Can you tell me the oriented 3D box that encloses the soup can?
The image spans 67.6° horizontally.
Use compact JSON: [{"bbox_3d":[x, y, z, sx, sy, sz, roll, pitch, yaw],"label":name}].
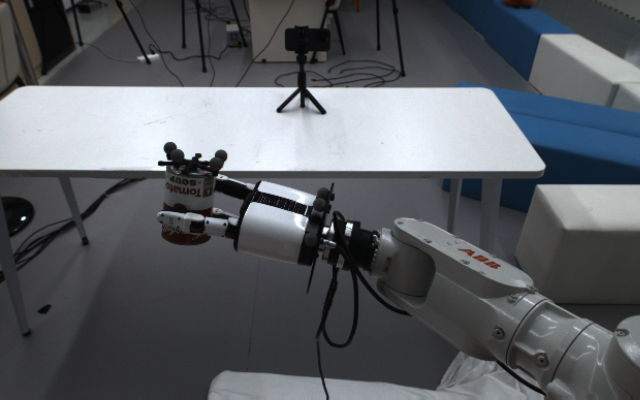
[{"bbox_3d":[-0.179,0.004,0.665,0.067,0.101,0.067,9,20,-3],"label":"soup can"}]
